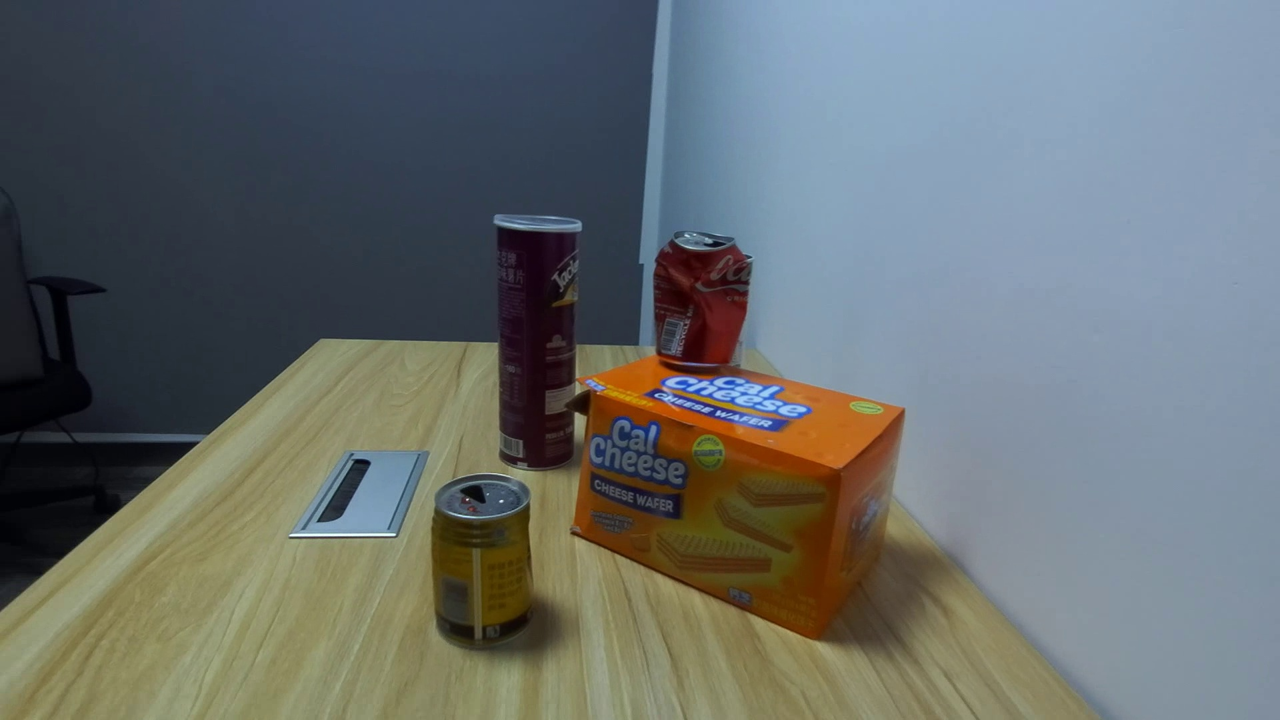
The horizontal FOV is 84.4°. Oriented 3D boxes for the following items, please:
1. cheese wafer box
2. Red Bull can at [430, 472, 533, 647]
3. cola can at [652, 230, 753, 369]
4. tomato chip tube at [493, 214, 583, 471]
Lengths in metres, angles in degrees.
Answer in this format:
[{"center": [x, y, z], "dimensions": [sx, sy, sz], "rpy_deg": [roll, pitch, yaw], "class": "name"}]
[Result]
[{"center": [0.072, 0.086, 0.560], "dimensions": [0.226, 0.137, 0.150], "rpy_deg": [15, 21, 32], "class": "cheese wafer box"}, {"center": [-0.102, 0.129, 0.460], "dimensions": [0.069, 0.092, 0.069], "rpy_deg": [3, 16, -1], "class": "Red Bull can"}, {"center": [0.048, -0.050, 0.592], "dimensions": [0.066, 0.112, 0.069], "rpy_deg": [-12, 25, -35], "class": "cola can"}, {"center": [-0.100, -0.016, 0.688], "dimensions": [0.078, 0.234, 0.078], "rpy_deg": [3, 17, -1], "class": "tomato chip tube"}]
